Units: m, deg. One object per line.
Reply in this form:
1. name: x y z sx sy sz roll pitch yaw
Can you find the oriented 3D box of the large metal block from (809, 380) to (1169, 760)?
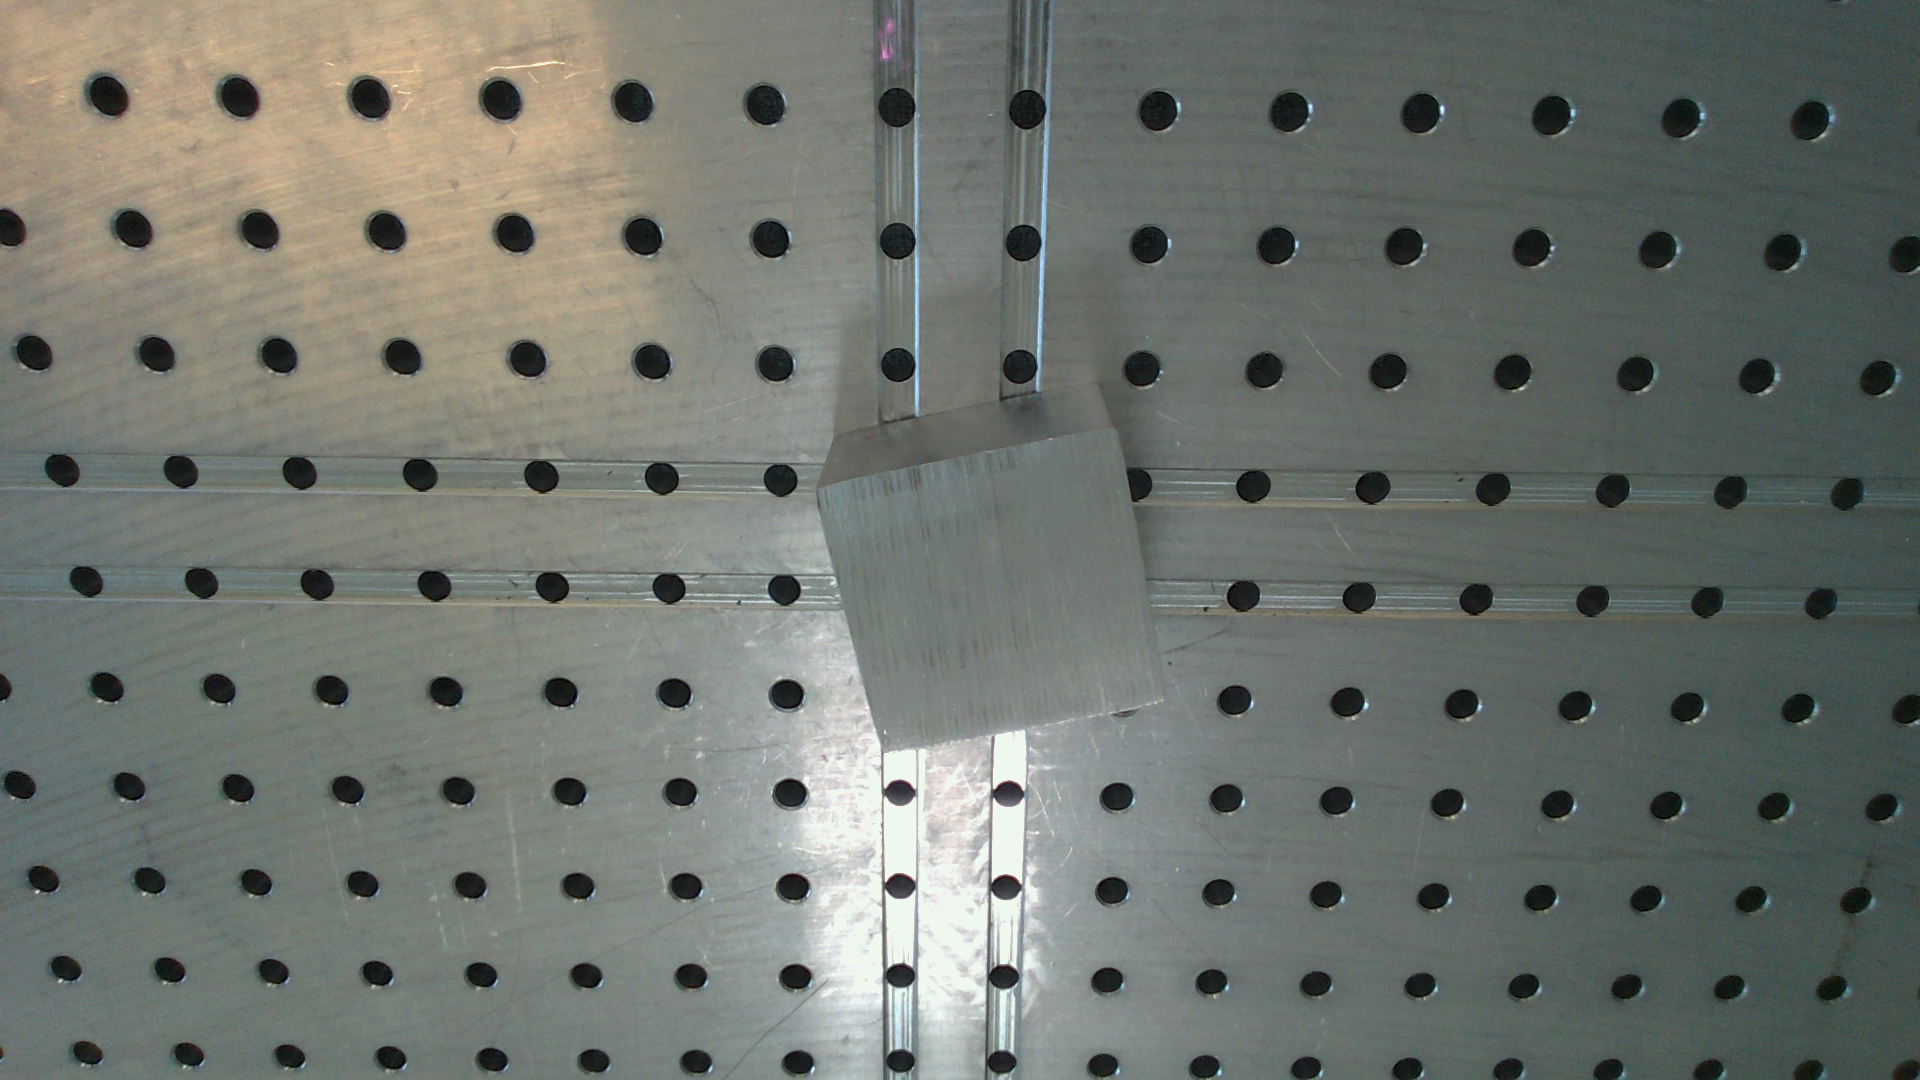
1. large metal block: 0.009 0.007 0.385 0.080 0.050 0.080 -11 110 4
